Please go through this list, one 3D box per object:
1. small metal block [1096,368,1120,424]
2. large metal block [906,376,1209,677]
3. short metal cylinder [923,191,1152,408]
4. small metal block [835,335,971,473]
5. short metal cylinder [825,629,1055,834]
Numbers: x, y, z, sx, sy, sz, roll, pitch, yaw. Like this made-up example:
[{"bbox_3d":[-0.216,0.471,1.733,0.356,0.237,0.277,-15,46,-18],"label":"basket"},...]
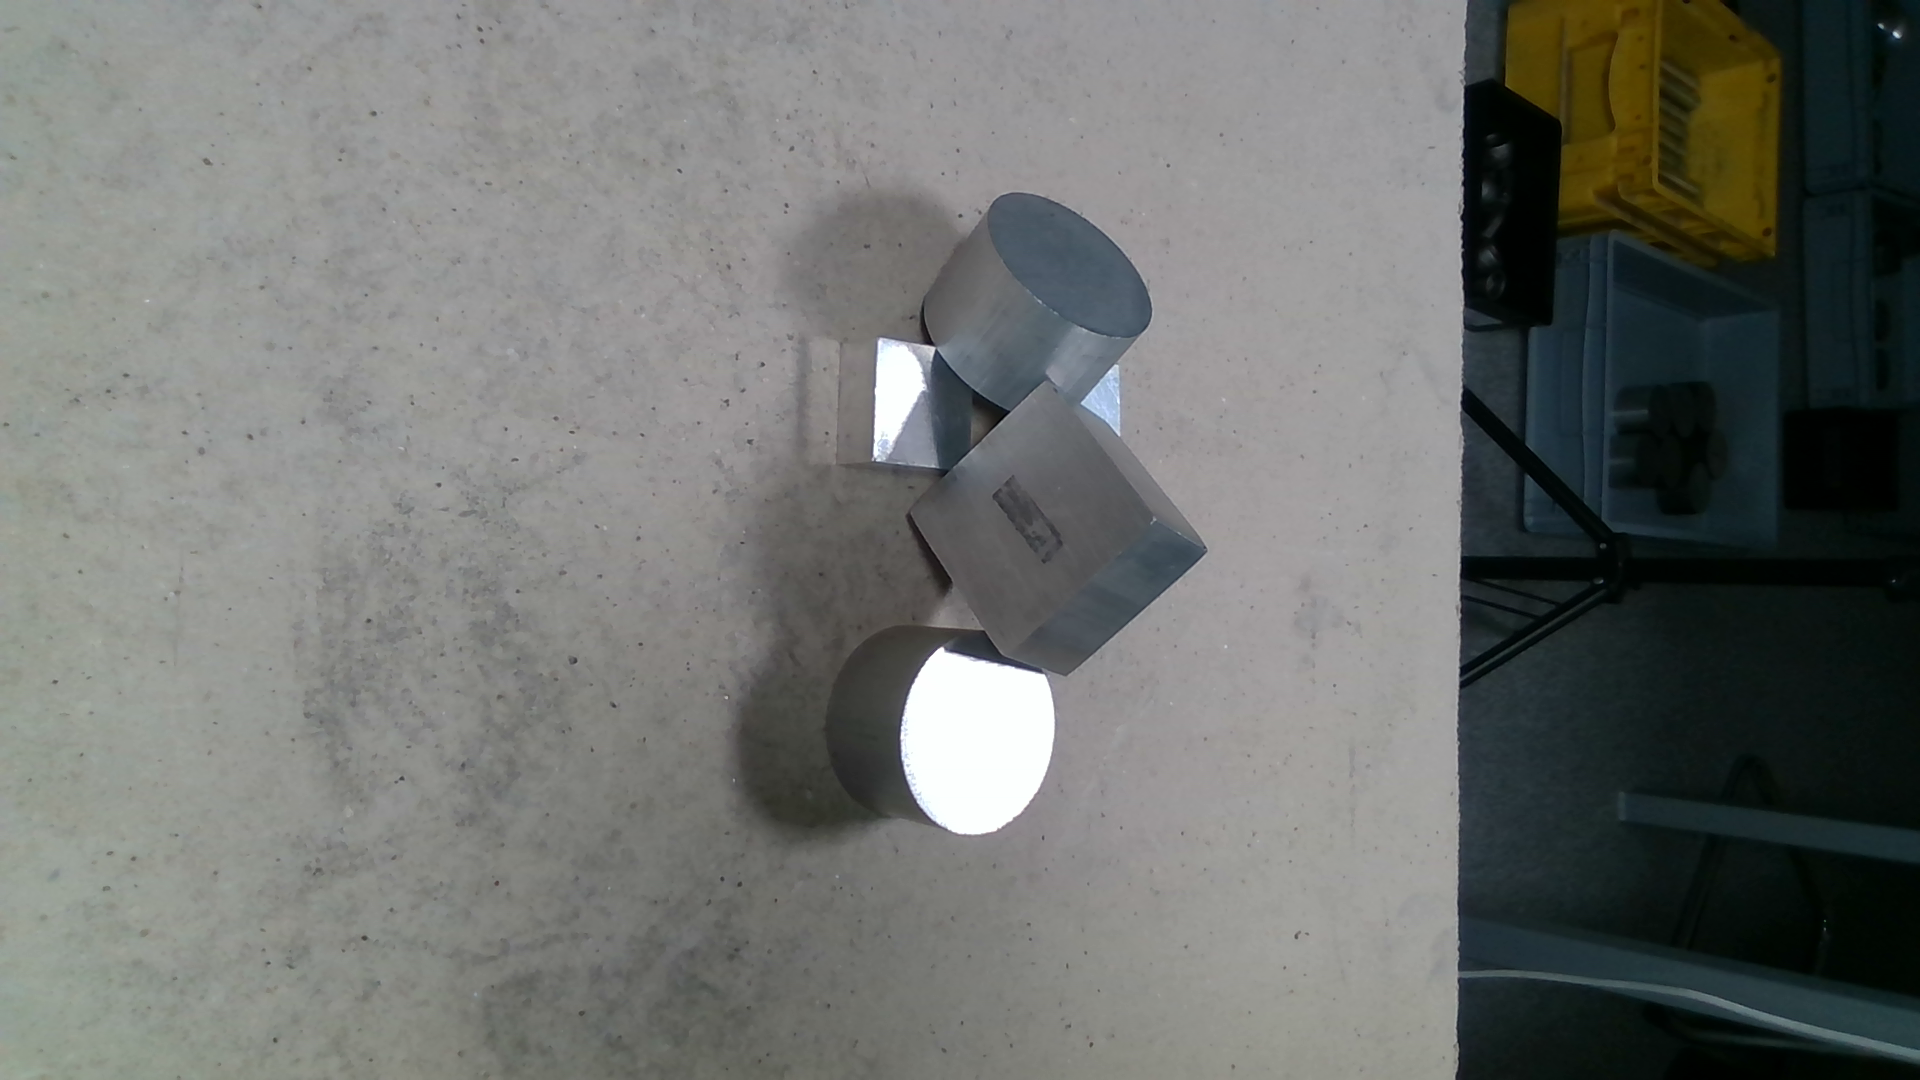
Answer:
[{"bbox_3d":[0.046,-0.055,0.622,0.050,0.025,0.050,-2,91,-40],"label":"small metal block"},{"bbox_3d":[0.038,-0.004,0.555,0.080,0.080,0.050,-43,148,15],"label":"large metal block"},{"bbox_3d":[0.032,-0.097,0.570,0.080,0.050,0.080,22,43,-22],"label":"short metal cylinder"},{"bbox_3d":[-0.023,-0.054,0.564,0.050,0.025,0.050,3,88,-40],"label":"small metal block"},{"bbox_3d":[-0.008,0.075,0.561,0.080,0.050,0.080,0,90,-40],"label":"short metal cylinder"}]
